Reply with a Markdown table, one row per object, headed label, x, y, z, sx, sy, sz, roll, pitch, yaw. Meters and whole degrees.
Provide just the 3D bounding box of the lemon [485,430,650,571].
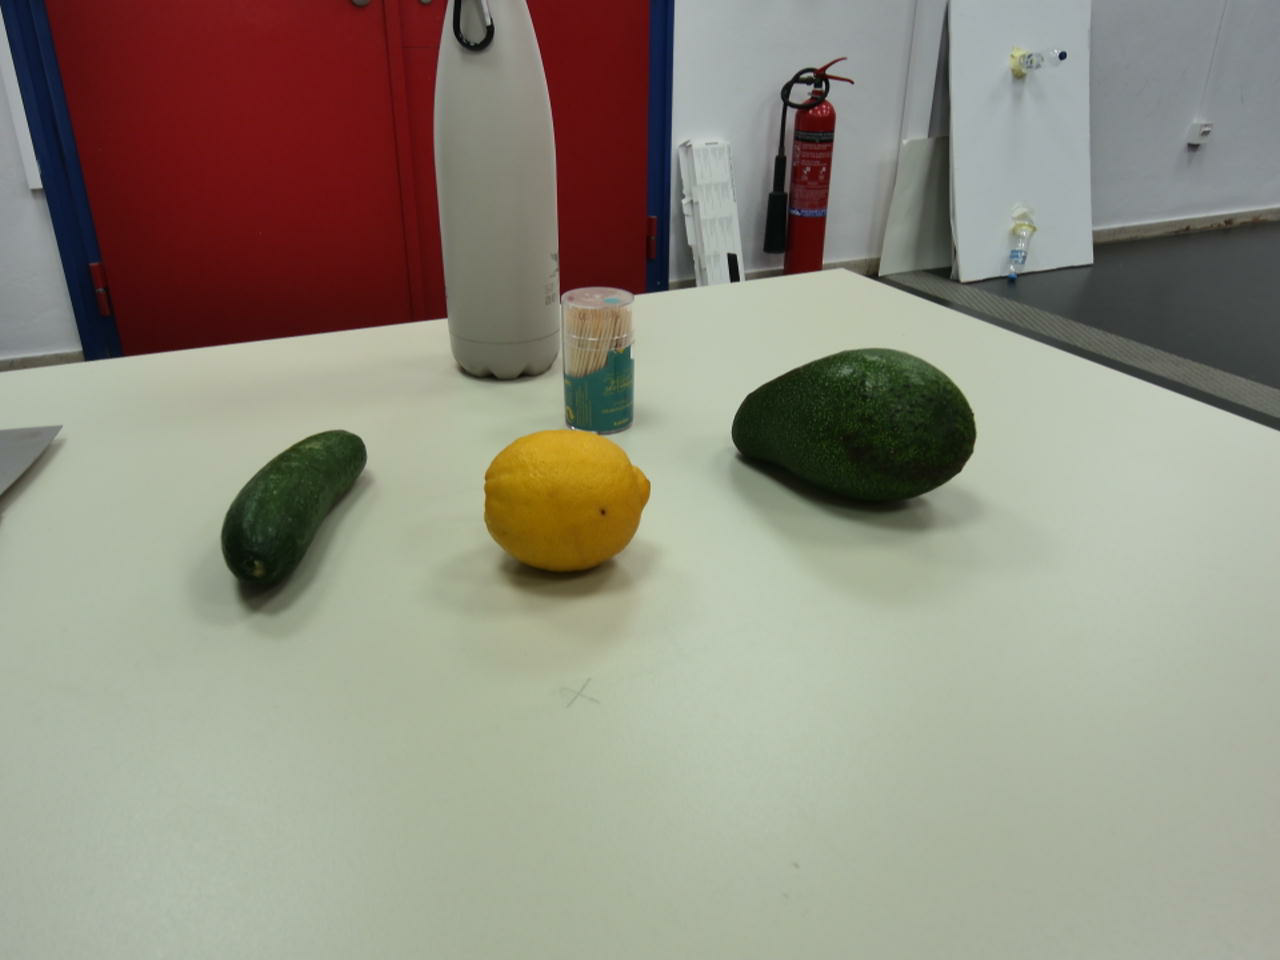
| label | x | y | z | sx | sy | sz | roll | pitch | yaw |
| --- | --- | --- | --- | --- | --- | --- | --- | --- | --- |
| lemon | -0.032 | 0.009 | 0.421 | 0.067 | 0.059 | 0.060 | 8 | 25 | 14 |
